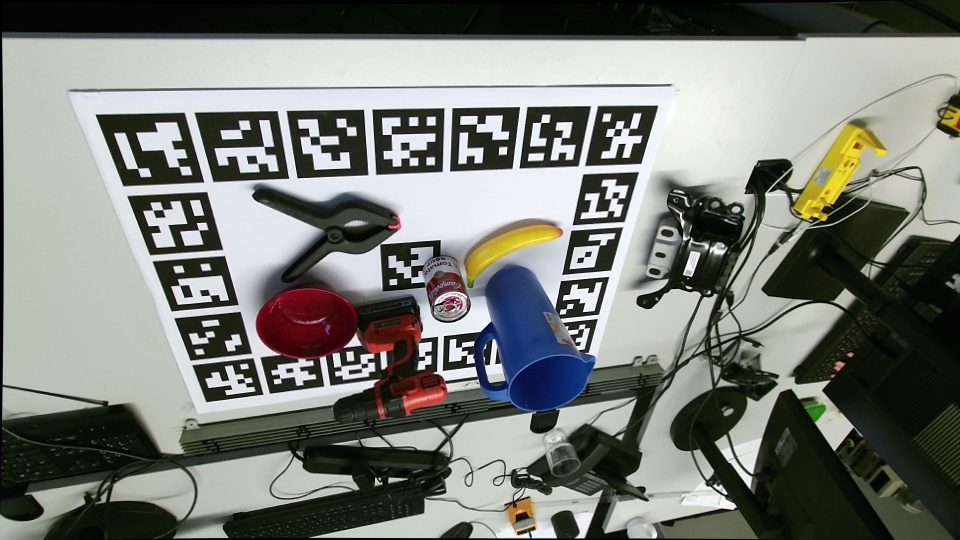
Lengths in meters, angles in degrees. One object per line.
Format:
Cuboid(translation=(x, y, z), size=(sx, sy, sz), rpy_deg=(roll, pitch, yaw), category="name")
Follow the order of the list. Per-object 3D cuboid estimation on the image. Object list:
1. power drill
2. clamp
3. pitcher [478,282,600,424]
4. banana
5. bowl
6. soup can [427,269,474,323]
Cuboid(translation=(-0.157, 0.181, 0.897), size=(0.185, 0.186, 0.057), rpy_deg=(-9, 127, -10), category="power drill")
Cuboid(translation=(-0.211, -0.041, 0.830), size=(0.203, 0.036, 0.165), rpy_deg=(-7, 123, -12), category="clamp")
Cuboid(translation=(0.080, 0.138, 0.927), size=(0.189, 0.241, 0.133), rpy_deg=(-24, 131, 1), category="pitcher")
Cuboid(translation=(0.066, -0.013, 0.945), size=(0.198, 0.038, 0.074), rpy_deg=(-24, 137, 3), category="banana")
Cuboid(translation=(-0.279, 0.095, 0.904), size=(0.162, 0.055, 0.161), rpy_deg=(-8, 126, -12), category="bowl")
Cuboid(translation=(-0.050, 0.056, 0.918), size=(0.068, 0.101, 0.068), rpy_deg=(-10, 135, -10), category="soup can")
